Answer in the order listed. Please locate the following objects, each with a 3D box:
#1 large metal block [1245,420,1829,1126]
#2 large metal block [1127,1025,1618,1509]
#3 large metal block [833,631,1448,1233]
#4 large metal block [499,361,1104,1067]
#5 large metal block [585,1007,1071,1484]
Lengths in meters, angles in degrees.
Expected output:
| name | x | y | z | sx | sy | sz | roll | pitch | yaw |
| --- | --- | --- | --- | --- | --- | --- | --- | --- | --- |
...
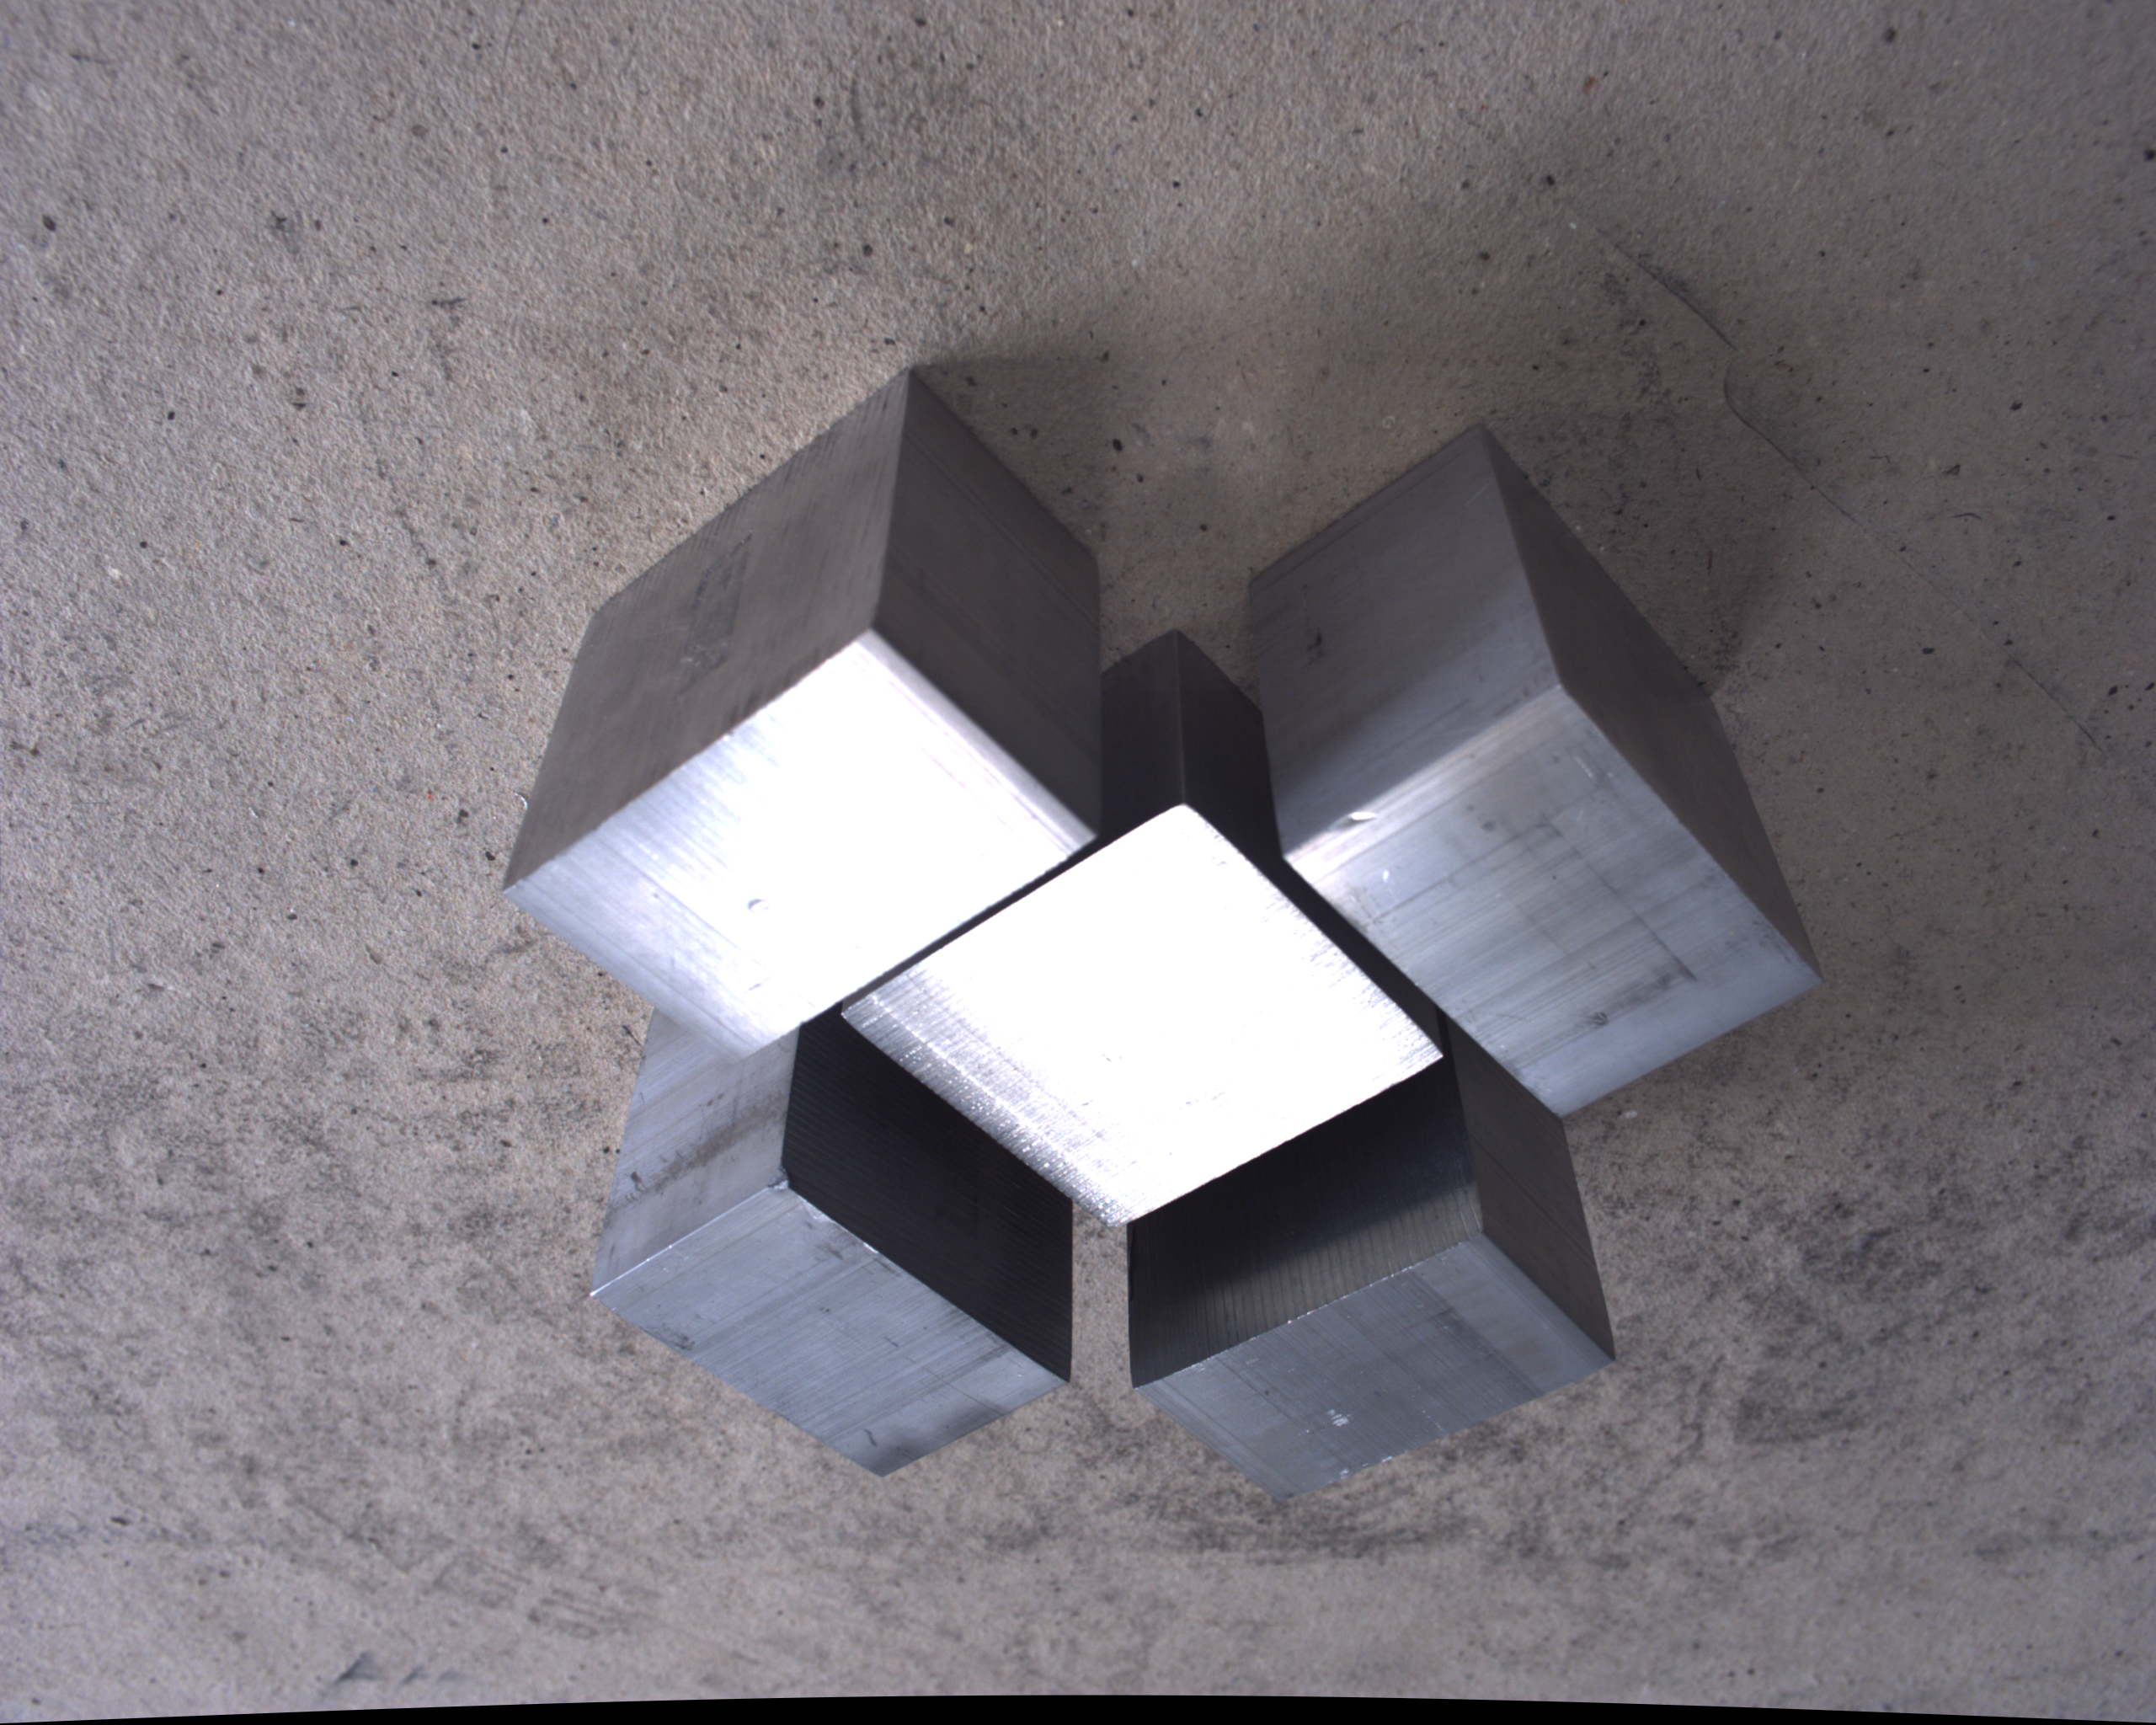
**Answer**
| name | x | y | z | sx | sy | sz | roll | pitch | yaw |
| --- | --- | --- | --- | --- | --- | --- | --- | --- | --- |
| large metal block | 0.076 | -0.016 | 0.360 | 0.050 | 0.080 | 0.080 | -34 | 122 | 24 |
| large metal block | 0.057 | 0.075 | 0.436 | 0.080 | 0.080 | 0.050 | -31 | 123 | 23 |
| large metal block | 0.012 | 0.016 | 0.403 | 0.080 | 0.050 | 0.080 | -32 | 123 | 24 |
| large metal block | -0.043 | -0.025 | 0.351 | 0.080 | 0.080 | 0.050 | -32 | 123 | 24 |
| large metal block | -0.047 | 0.066 | 0.428 | 0.050 | 0.080 | 0.080 | -33 | 123 | 24 |
